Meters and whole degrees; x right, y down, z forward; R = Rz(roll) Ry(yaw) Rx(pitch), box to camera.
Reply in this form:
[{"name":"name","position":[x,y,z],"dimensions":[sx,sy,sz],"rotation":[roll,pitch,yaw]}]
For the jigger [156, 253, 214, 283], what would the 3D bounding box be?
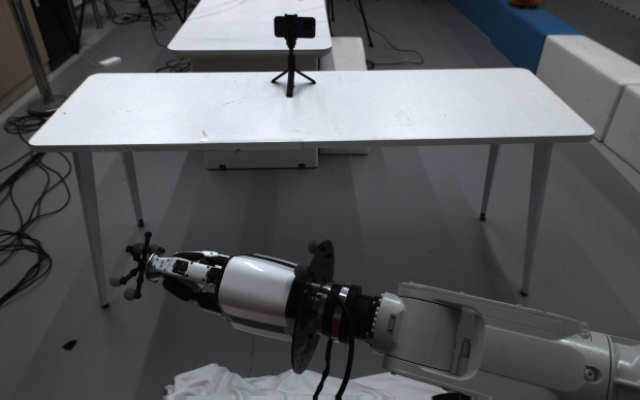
[{"name":"jigger","position":[-0.177,0.087,0.622],"dimensions":[0.071,0.043,0.043],"rotation":[7,35,14]}]
